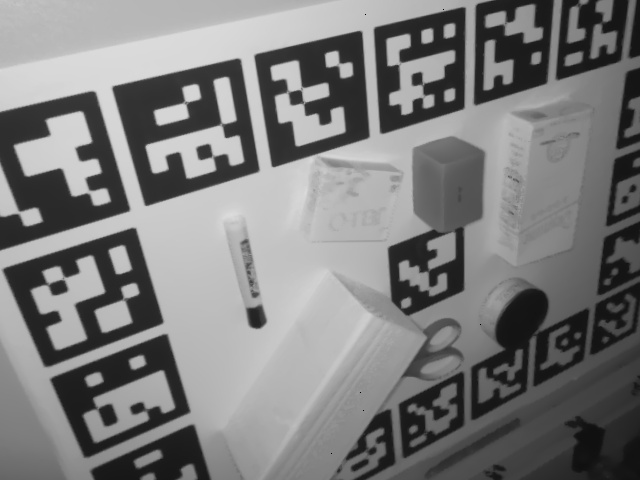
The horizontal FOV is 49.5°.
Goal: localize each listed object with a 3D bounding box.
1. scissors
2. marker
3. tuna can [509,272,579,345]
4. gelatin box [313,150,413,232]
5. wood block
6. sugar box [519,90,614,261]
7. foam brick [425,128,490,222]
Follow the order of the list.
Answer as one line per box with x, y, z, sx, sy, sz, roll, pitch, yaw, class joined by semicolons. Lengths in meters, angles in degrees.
0.115;0.142;0.803;0.206;0.016;0.087;-14;118;-25;scissors
-0.051;0.022;0.654;0.020;0.019;0.120;-19;117;-20;marker
0.274;0.083;0.848;0.087;0.033;0.085;-12;116;-24;tuna can
0.042;-0.047;0.669;0.090;0.030;0.073;-2;112;-28;gelatin box
0.015;0.138;0.705;0.091;0.090;0.205;27;98;-35;wood block
0.273;-0.071;0.776;0.094;0.045;0.175;-16;118;-21;sugar box
0.143;-0.067;0.697;0.053;0.051;0.077;-18;119;-20;foam brick
